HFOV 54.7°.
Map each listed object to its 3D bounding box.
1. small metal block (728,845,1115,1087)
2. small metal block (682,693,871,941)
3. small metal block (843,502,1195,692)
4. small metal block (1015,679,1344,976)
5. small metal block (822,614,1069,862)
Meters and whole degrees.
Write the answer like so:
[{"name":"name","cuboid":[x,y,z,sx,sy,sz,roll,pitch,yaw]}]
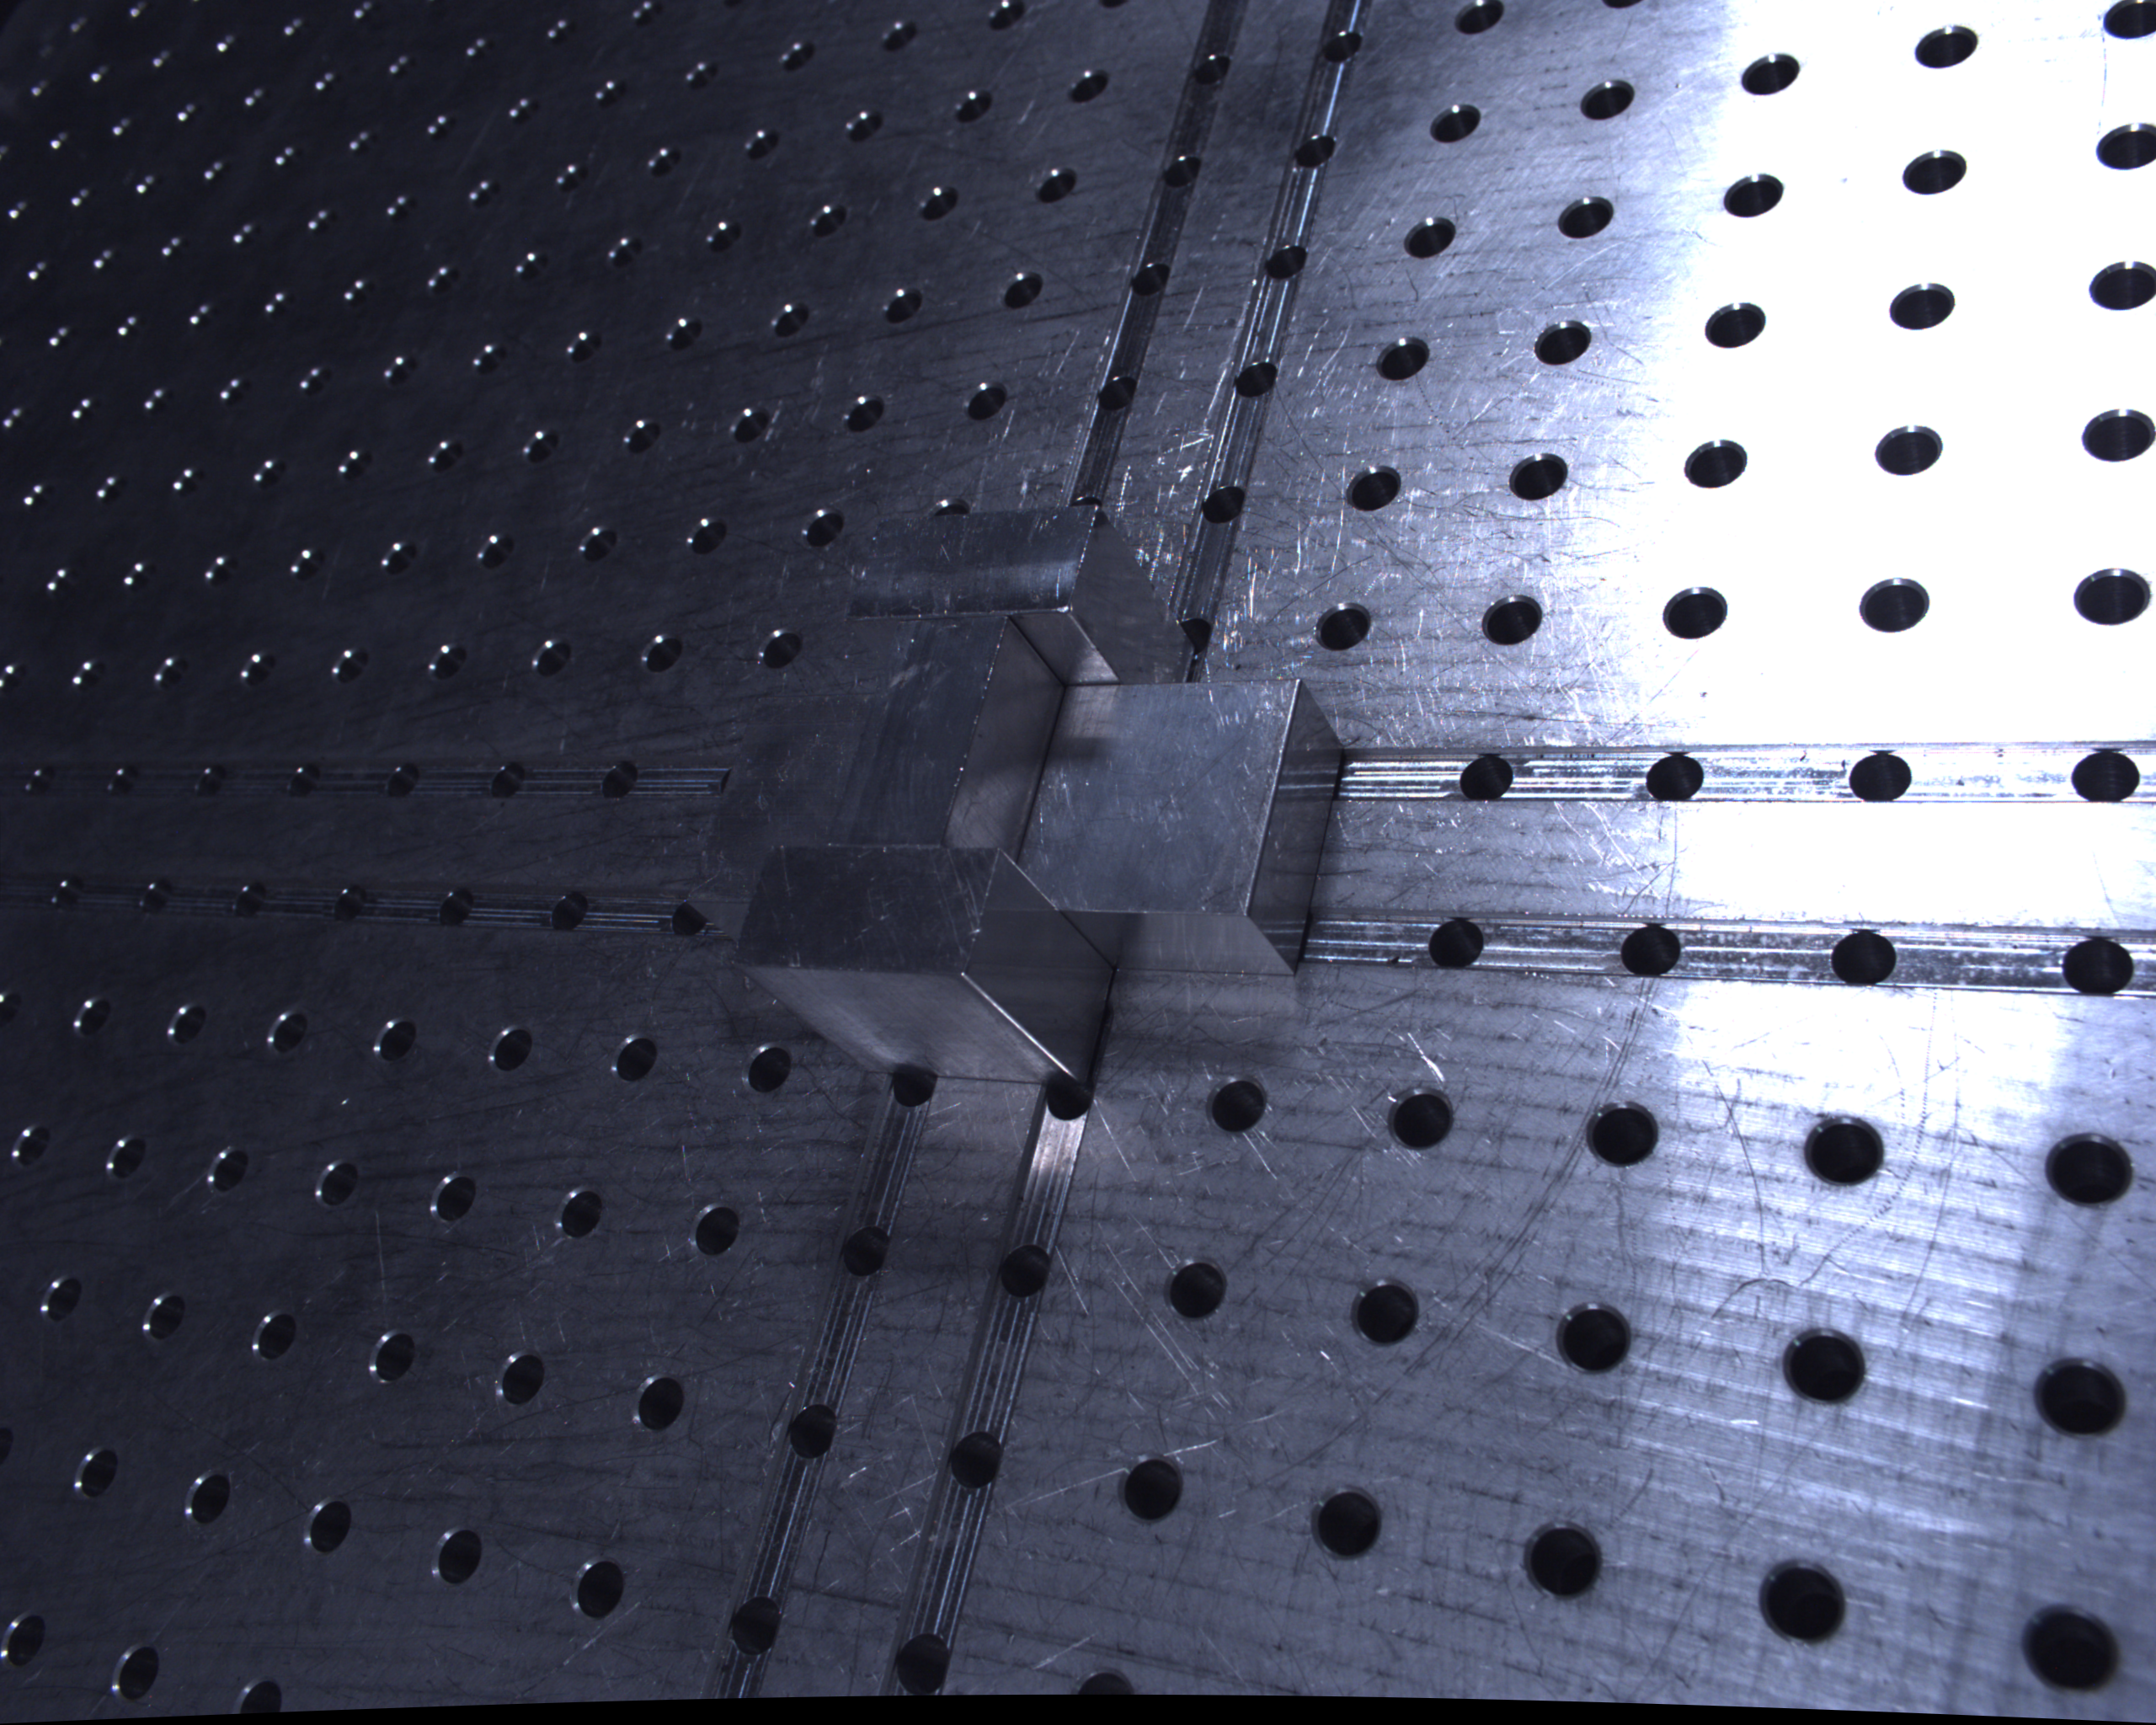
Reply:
[{"name":"small metal block","cuboid":[-0.028,0.020,0.393,0.050,0.050,0.025,1,62,28]},{"name":"small metal block","cuboid":[-0.048,-0.008,0.436,0.050,0.025,0.050,1,62,28]},{"name":"small metal block","cuboid":[-0.011,-0.047,0.425,0.050,0.050,0.025,1,62,28]},{"name":"small metal block","cuboid":[0.019,-0.007,0.401,0.050,0.025,0.050,1,62,28]},{"name":"small metal block","cuboid":[-0.020,-0.013,0.409,0.025,0.050,0.050,1,62,28]}]
